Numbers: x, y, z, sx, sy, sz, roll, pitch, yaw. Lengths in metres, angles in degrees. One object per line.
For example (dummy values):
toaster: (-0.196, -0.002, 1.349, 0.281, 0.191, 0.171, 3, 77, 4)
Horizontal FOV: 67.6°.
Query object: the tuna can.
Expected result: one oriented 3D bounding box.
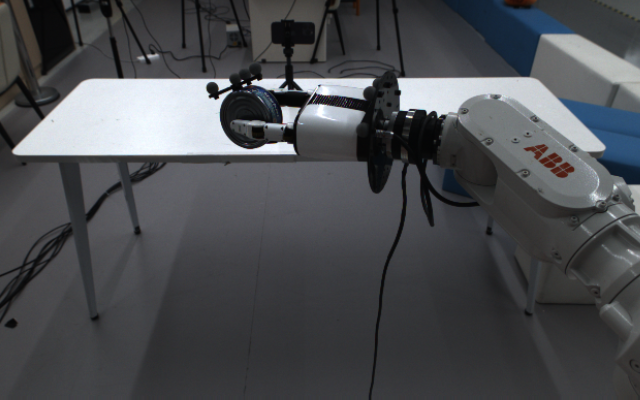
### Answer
tuna can: (-0.095, -0.112, 0.687, 0.085, 0.085, 0.034, 14, 30, 17)
